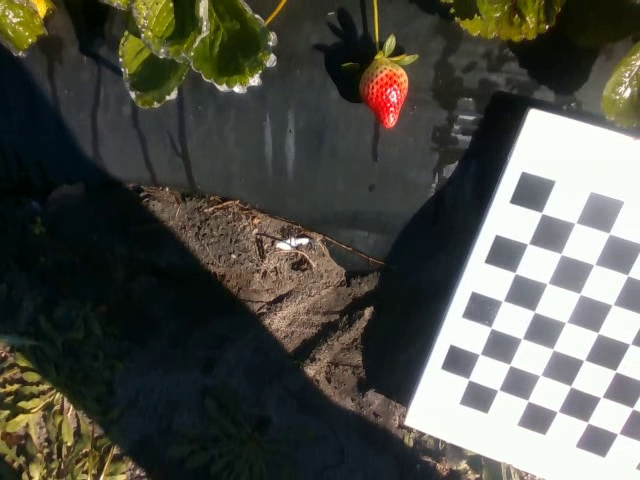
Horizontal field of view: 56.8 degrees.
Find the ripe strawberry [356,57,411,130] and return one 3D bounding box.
[{"bbox_3d":[0.047,-0.102,0.408,0.039,0.053,0.040,-3,0,14],"label":"ripe strawberry"}]
